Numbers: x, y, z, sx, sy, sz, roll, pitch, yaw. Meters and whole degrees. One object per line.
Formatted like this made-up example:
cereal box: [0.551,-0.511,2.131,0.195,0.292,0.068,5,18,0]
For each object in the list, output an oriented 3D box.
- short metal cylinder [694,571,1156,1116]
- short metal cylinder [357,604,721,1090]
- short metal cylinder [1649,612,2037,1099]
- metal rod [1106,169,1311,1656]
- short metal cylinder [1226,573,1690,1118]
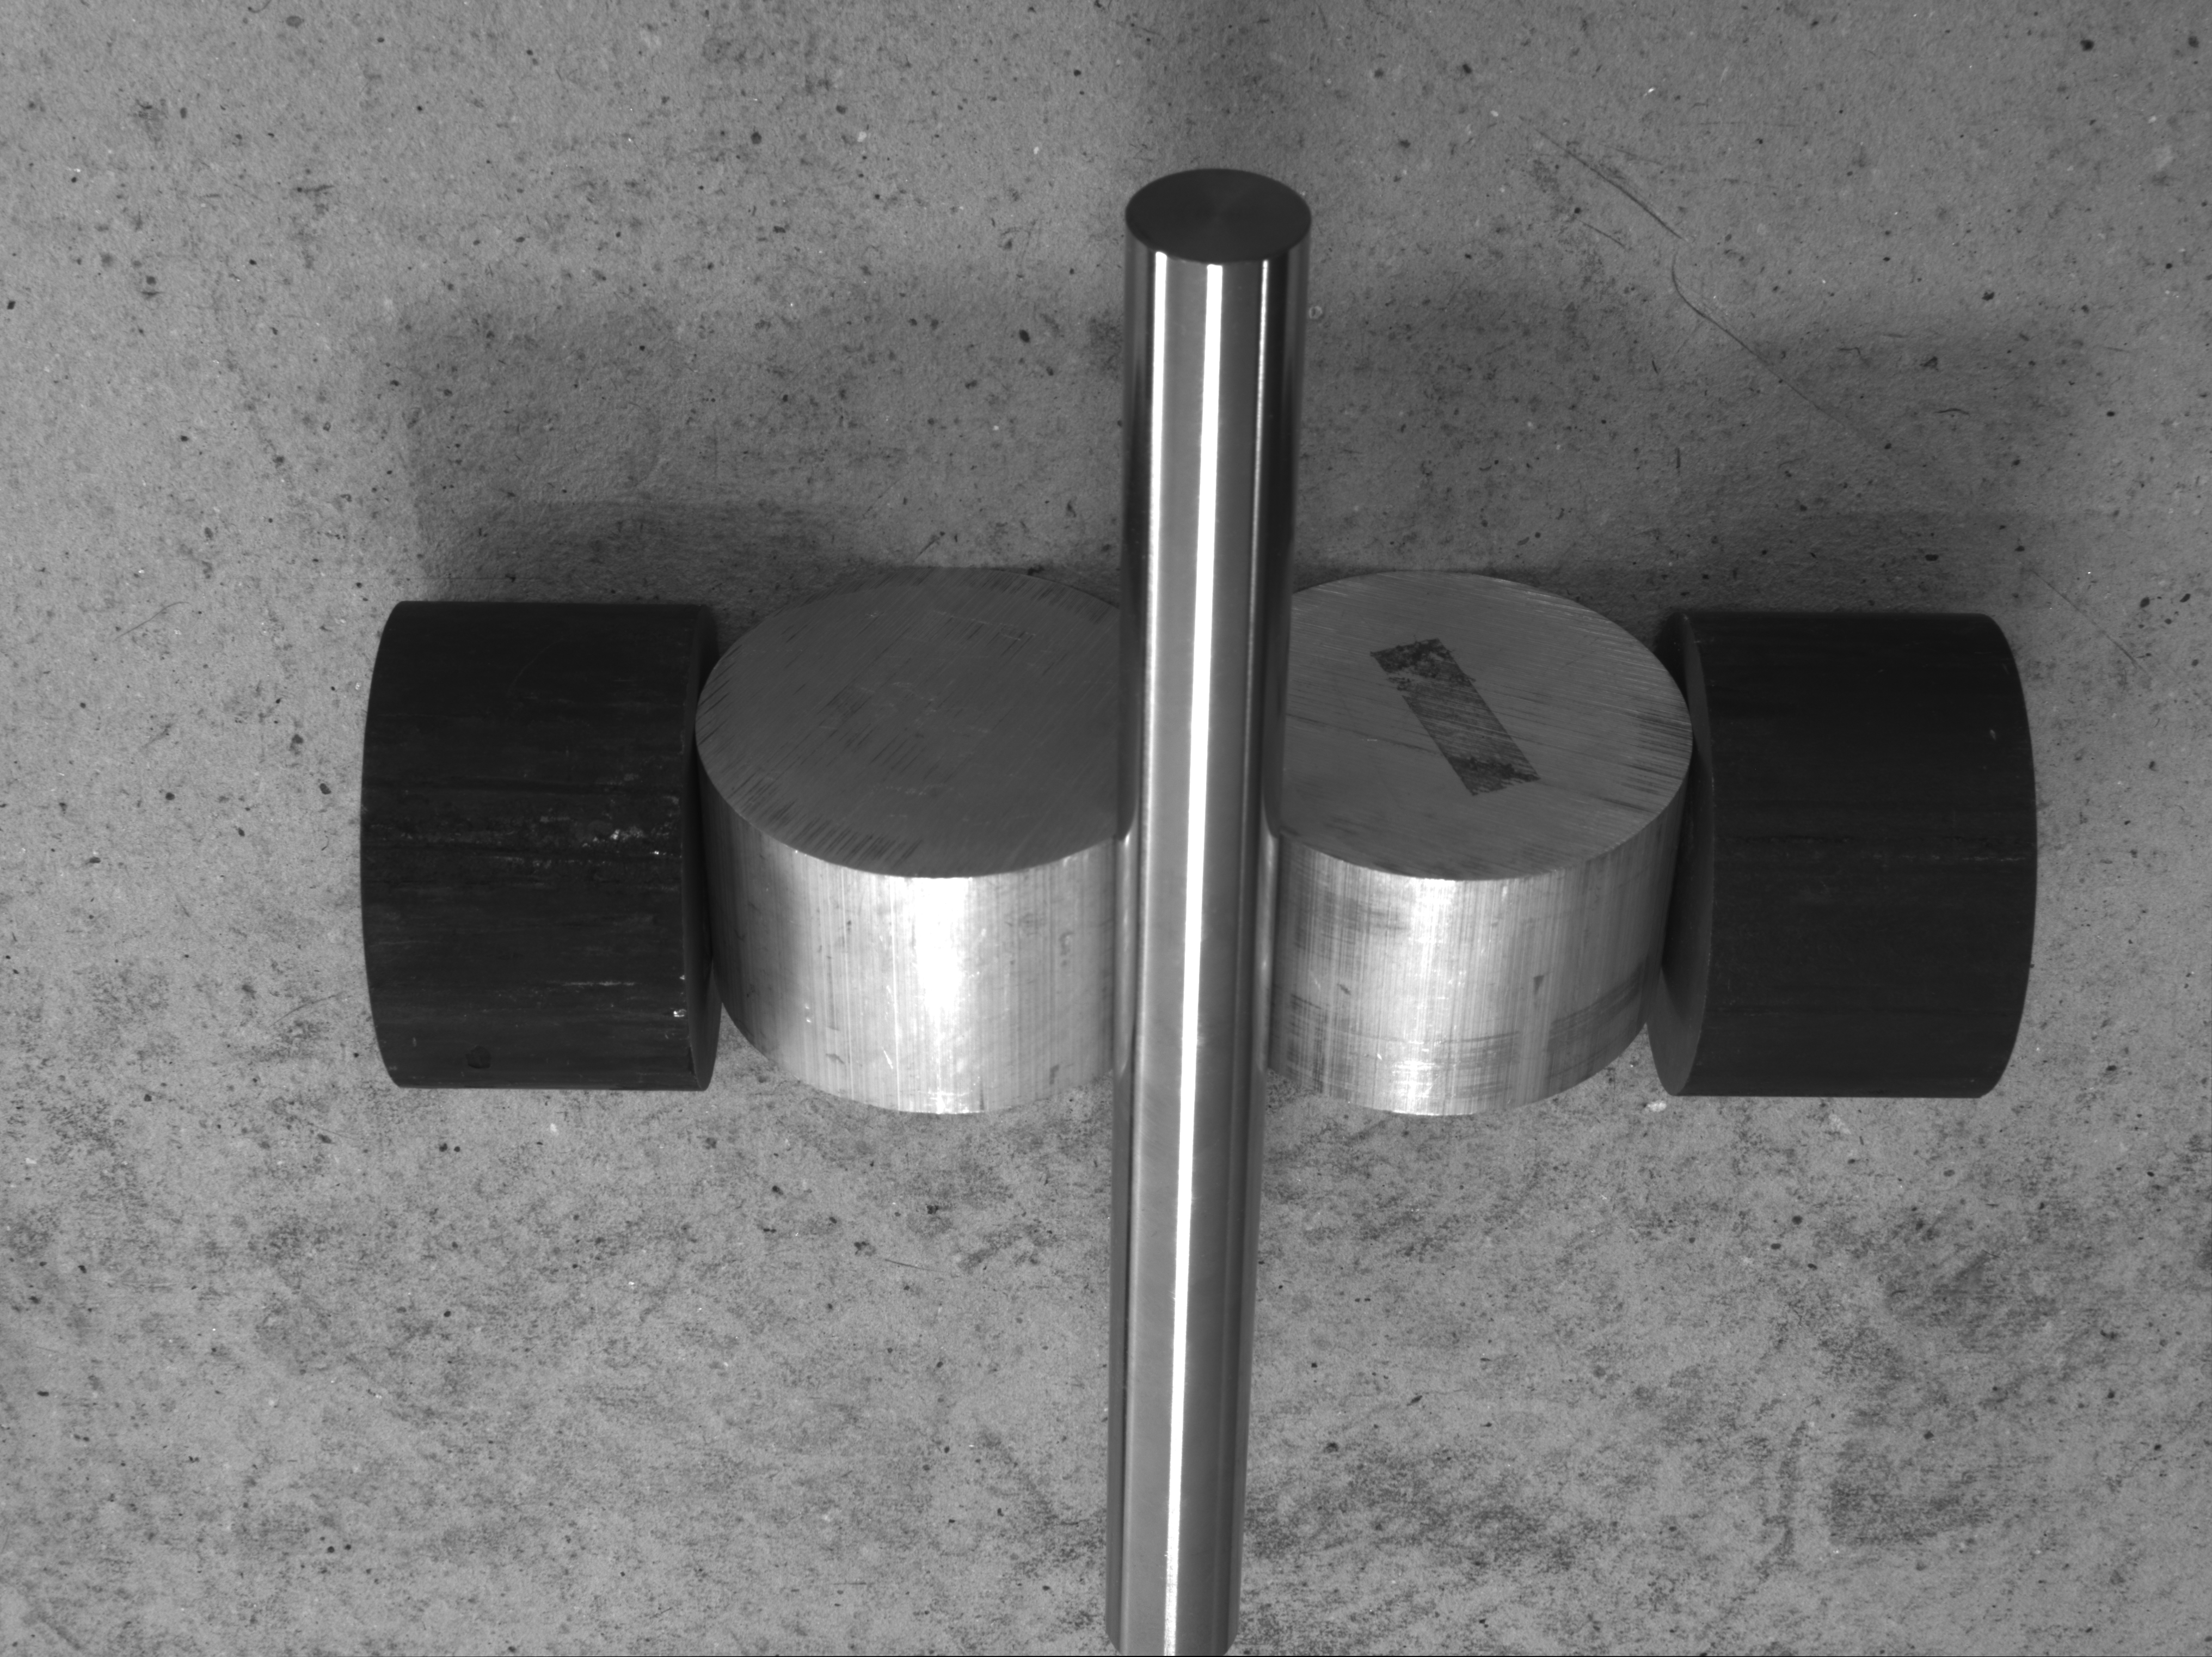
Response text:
short metal cylinder: [-0.026,0.001,0.605,0.080,0.080,0.050,1,130,0]
short metal cylinder: [-0.091,0.003,0.606,0.050,0.080,0.080,1,130,0]
short metal cylinder: [0.119,0.005,0.608,0.050,0.080,0.080,1,130,0]
metal rod: [0.014,0.033,0.587,0.025,0.025,0.300,0,130,0]
short metal cylinder: [0.053,0.002,0.605,0.080,0.080,0.050,1,130,0]
